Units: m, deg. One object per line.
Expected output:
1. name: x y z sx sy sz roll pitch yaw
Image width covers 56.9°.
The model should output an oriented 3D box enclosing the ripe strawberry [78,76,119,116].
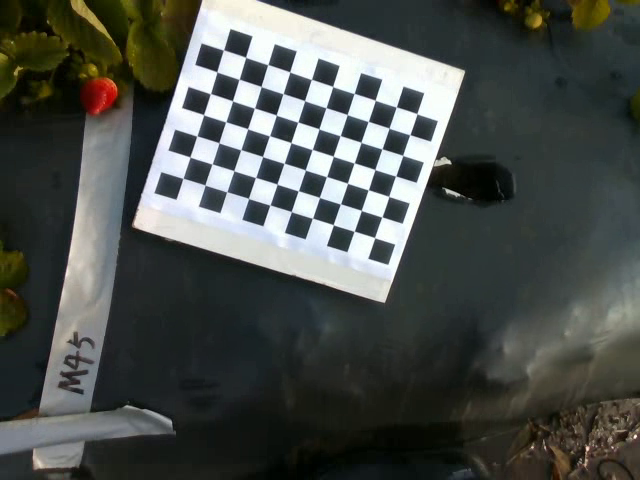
1. ripe strawberry: -0.214 -0.138 0.572 0.050 0.055 0.036 12 -18 -11
